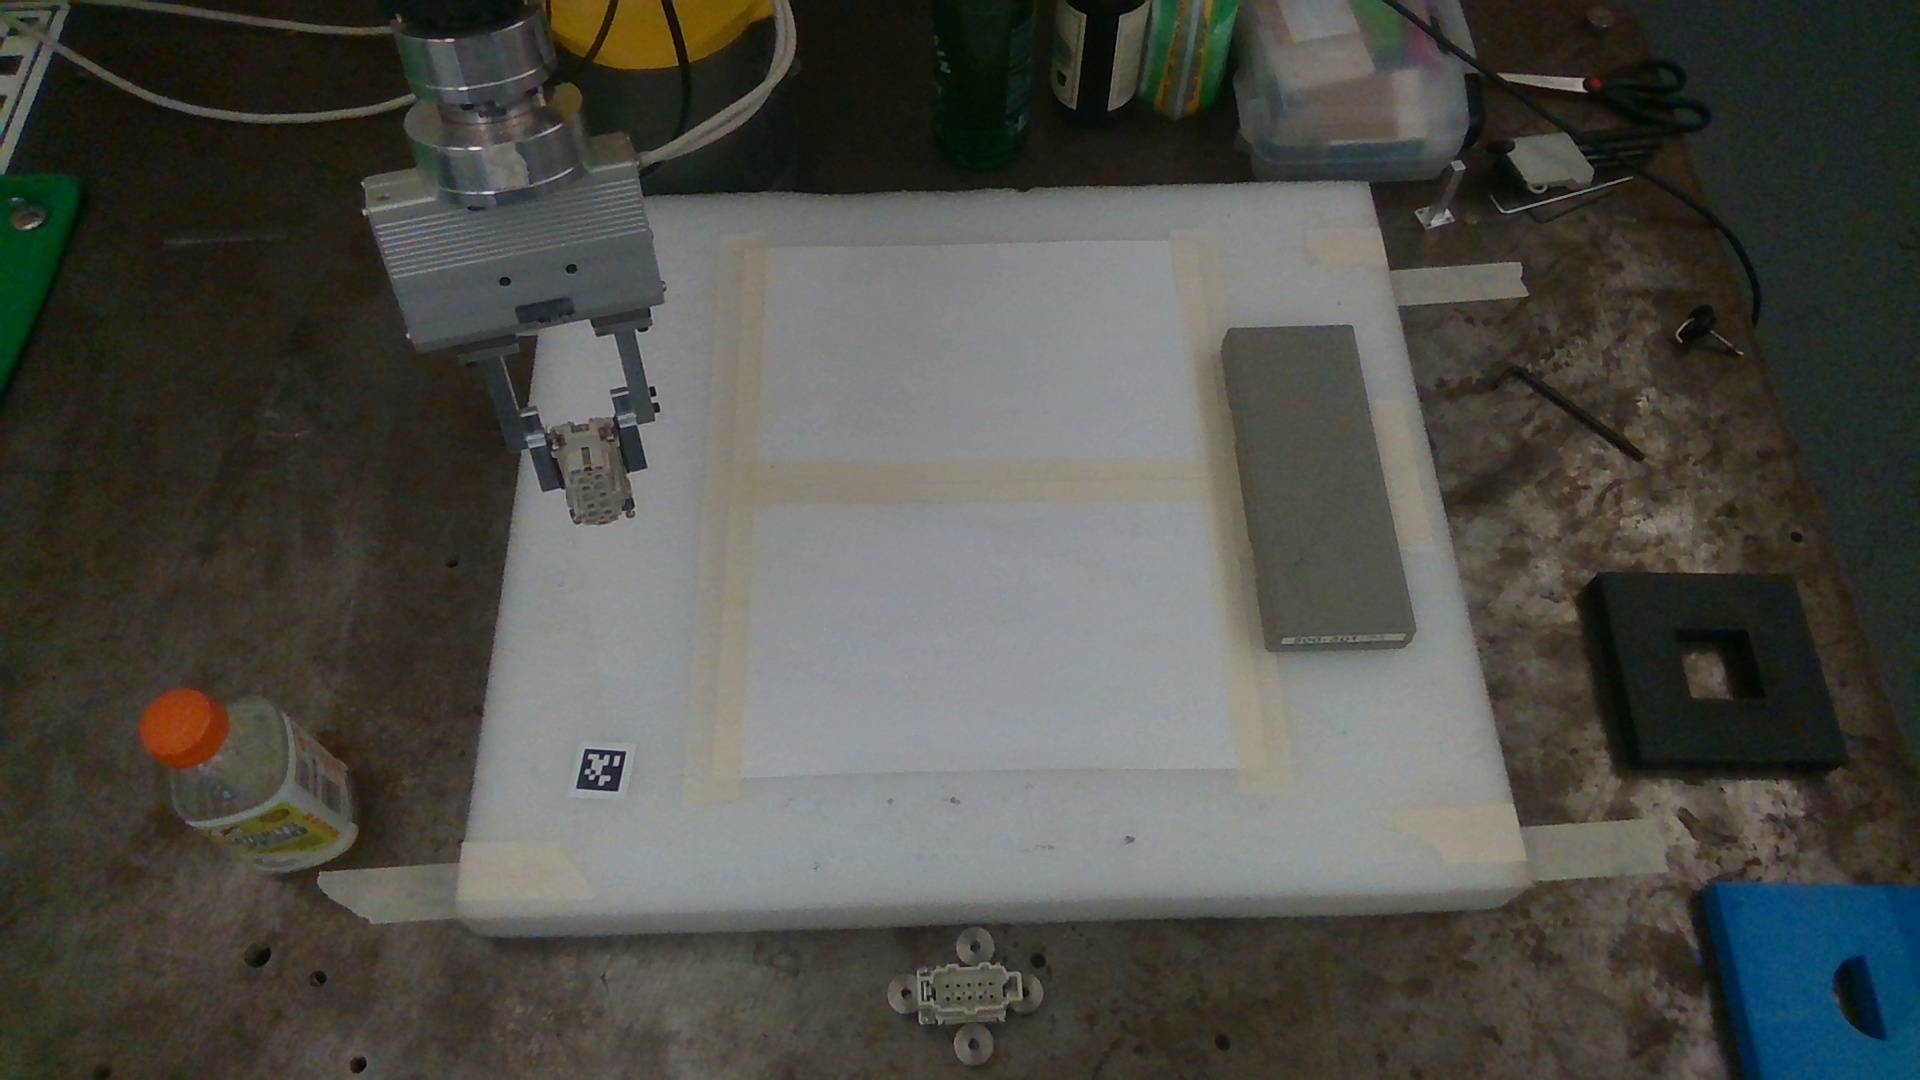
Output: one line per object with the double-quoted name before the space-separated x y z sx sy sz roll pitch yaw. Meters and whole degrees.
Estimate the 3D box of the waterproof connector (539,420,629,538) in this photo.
"waterproof connector" -0.201 -0.034 0.745 0.036 0.069 0.039 -10 42 -10
